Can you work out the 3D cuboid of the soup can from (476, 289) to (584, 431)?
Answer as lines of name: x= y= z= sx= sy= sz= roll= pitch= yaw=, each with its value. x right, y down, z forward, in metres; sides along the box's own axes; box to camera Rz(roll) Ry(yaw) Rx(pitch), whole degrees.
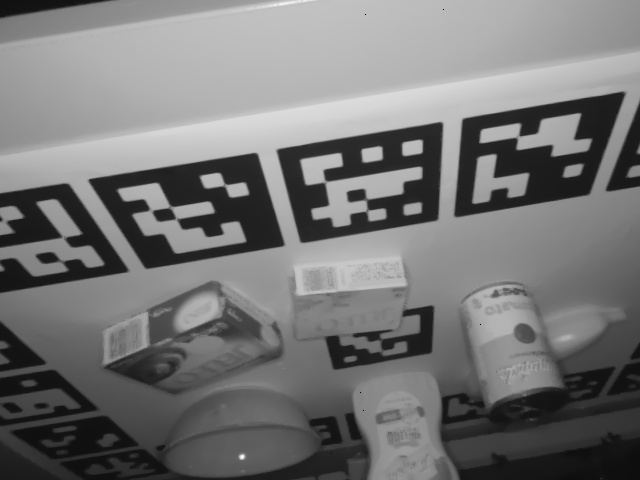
soup can: x=0.176 y=0.101 z=0.592 sx=0.068 sy=0.102 sz=0.067 roll=-4 pitch=143 yaw=-2

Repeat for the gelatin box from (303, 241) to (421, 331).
gelatin box: x=0.032 y=0.038 z=0.555 sx=0.090 sy=0.030 sz=0.072 roll=-5 pitch=138 yaw=-6

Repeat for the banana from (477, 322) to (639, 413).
banana: x=0.225 y=0.132 z=0.706 sx=0.075 sy=0.039 sz=0.194 roll=12 pitch=138 yaw=-39

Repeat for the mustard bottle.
mustard bottle: x=0.093 y=0.247 z=0.680 sx=0.096 sy=0.192 sz=0.058 roll=-8 pitch=144 yaw=0

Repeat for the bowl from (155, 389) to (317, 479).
bowl: x=-0.086 y=0.199 z=0.715 sx=0.162 sy=0.055 sz=0.160 roll=-7 pitch=142 yaw=-5

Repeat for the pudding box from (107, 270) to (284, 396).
pudding box: x=-0.100 y=0.079 z=0.571 sx=0.113 sy=0.039 sz=0.090 roll=-25 pitch=134 yaw=18
